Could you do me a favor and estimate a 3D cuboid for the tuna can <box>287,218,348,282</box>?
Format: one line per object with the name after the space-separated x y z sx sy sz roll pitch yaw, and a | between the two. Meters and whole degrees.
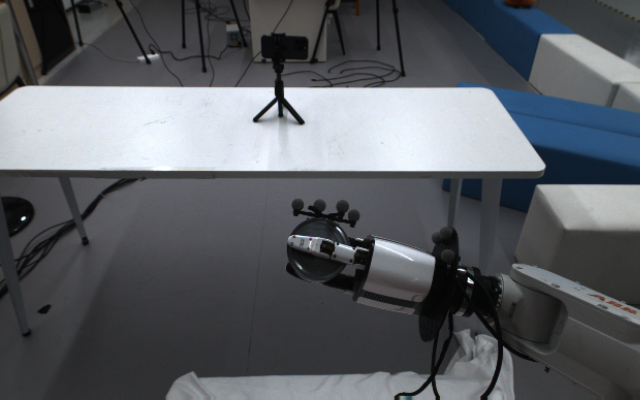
-0.002 0.067 0.659 0.085 0.034 0.085 1 72 -3 | tuna can
